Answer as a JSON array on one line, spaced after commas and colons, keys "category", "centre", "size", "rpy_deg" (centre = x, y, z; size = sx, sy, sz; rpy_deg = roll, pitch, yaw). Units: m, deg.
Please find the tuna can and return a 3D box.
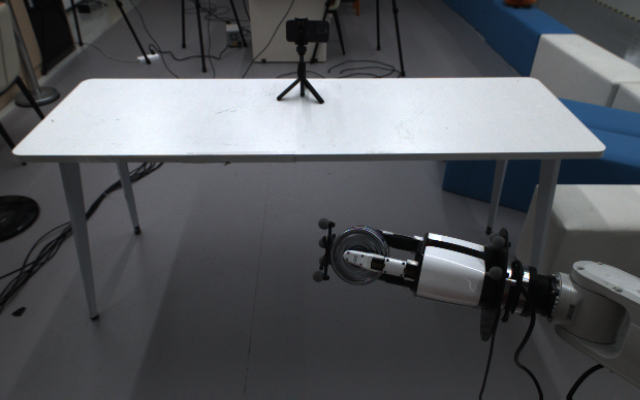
[{"category": "tuna can", "centre": [0.061, 0.085, 0.709], "size": [0.085, 0.085, 0.034], "rpy_deg": [10, 2, 11]}]
